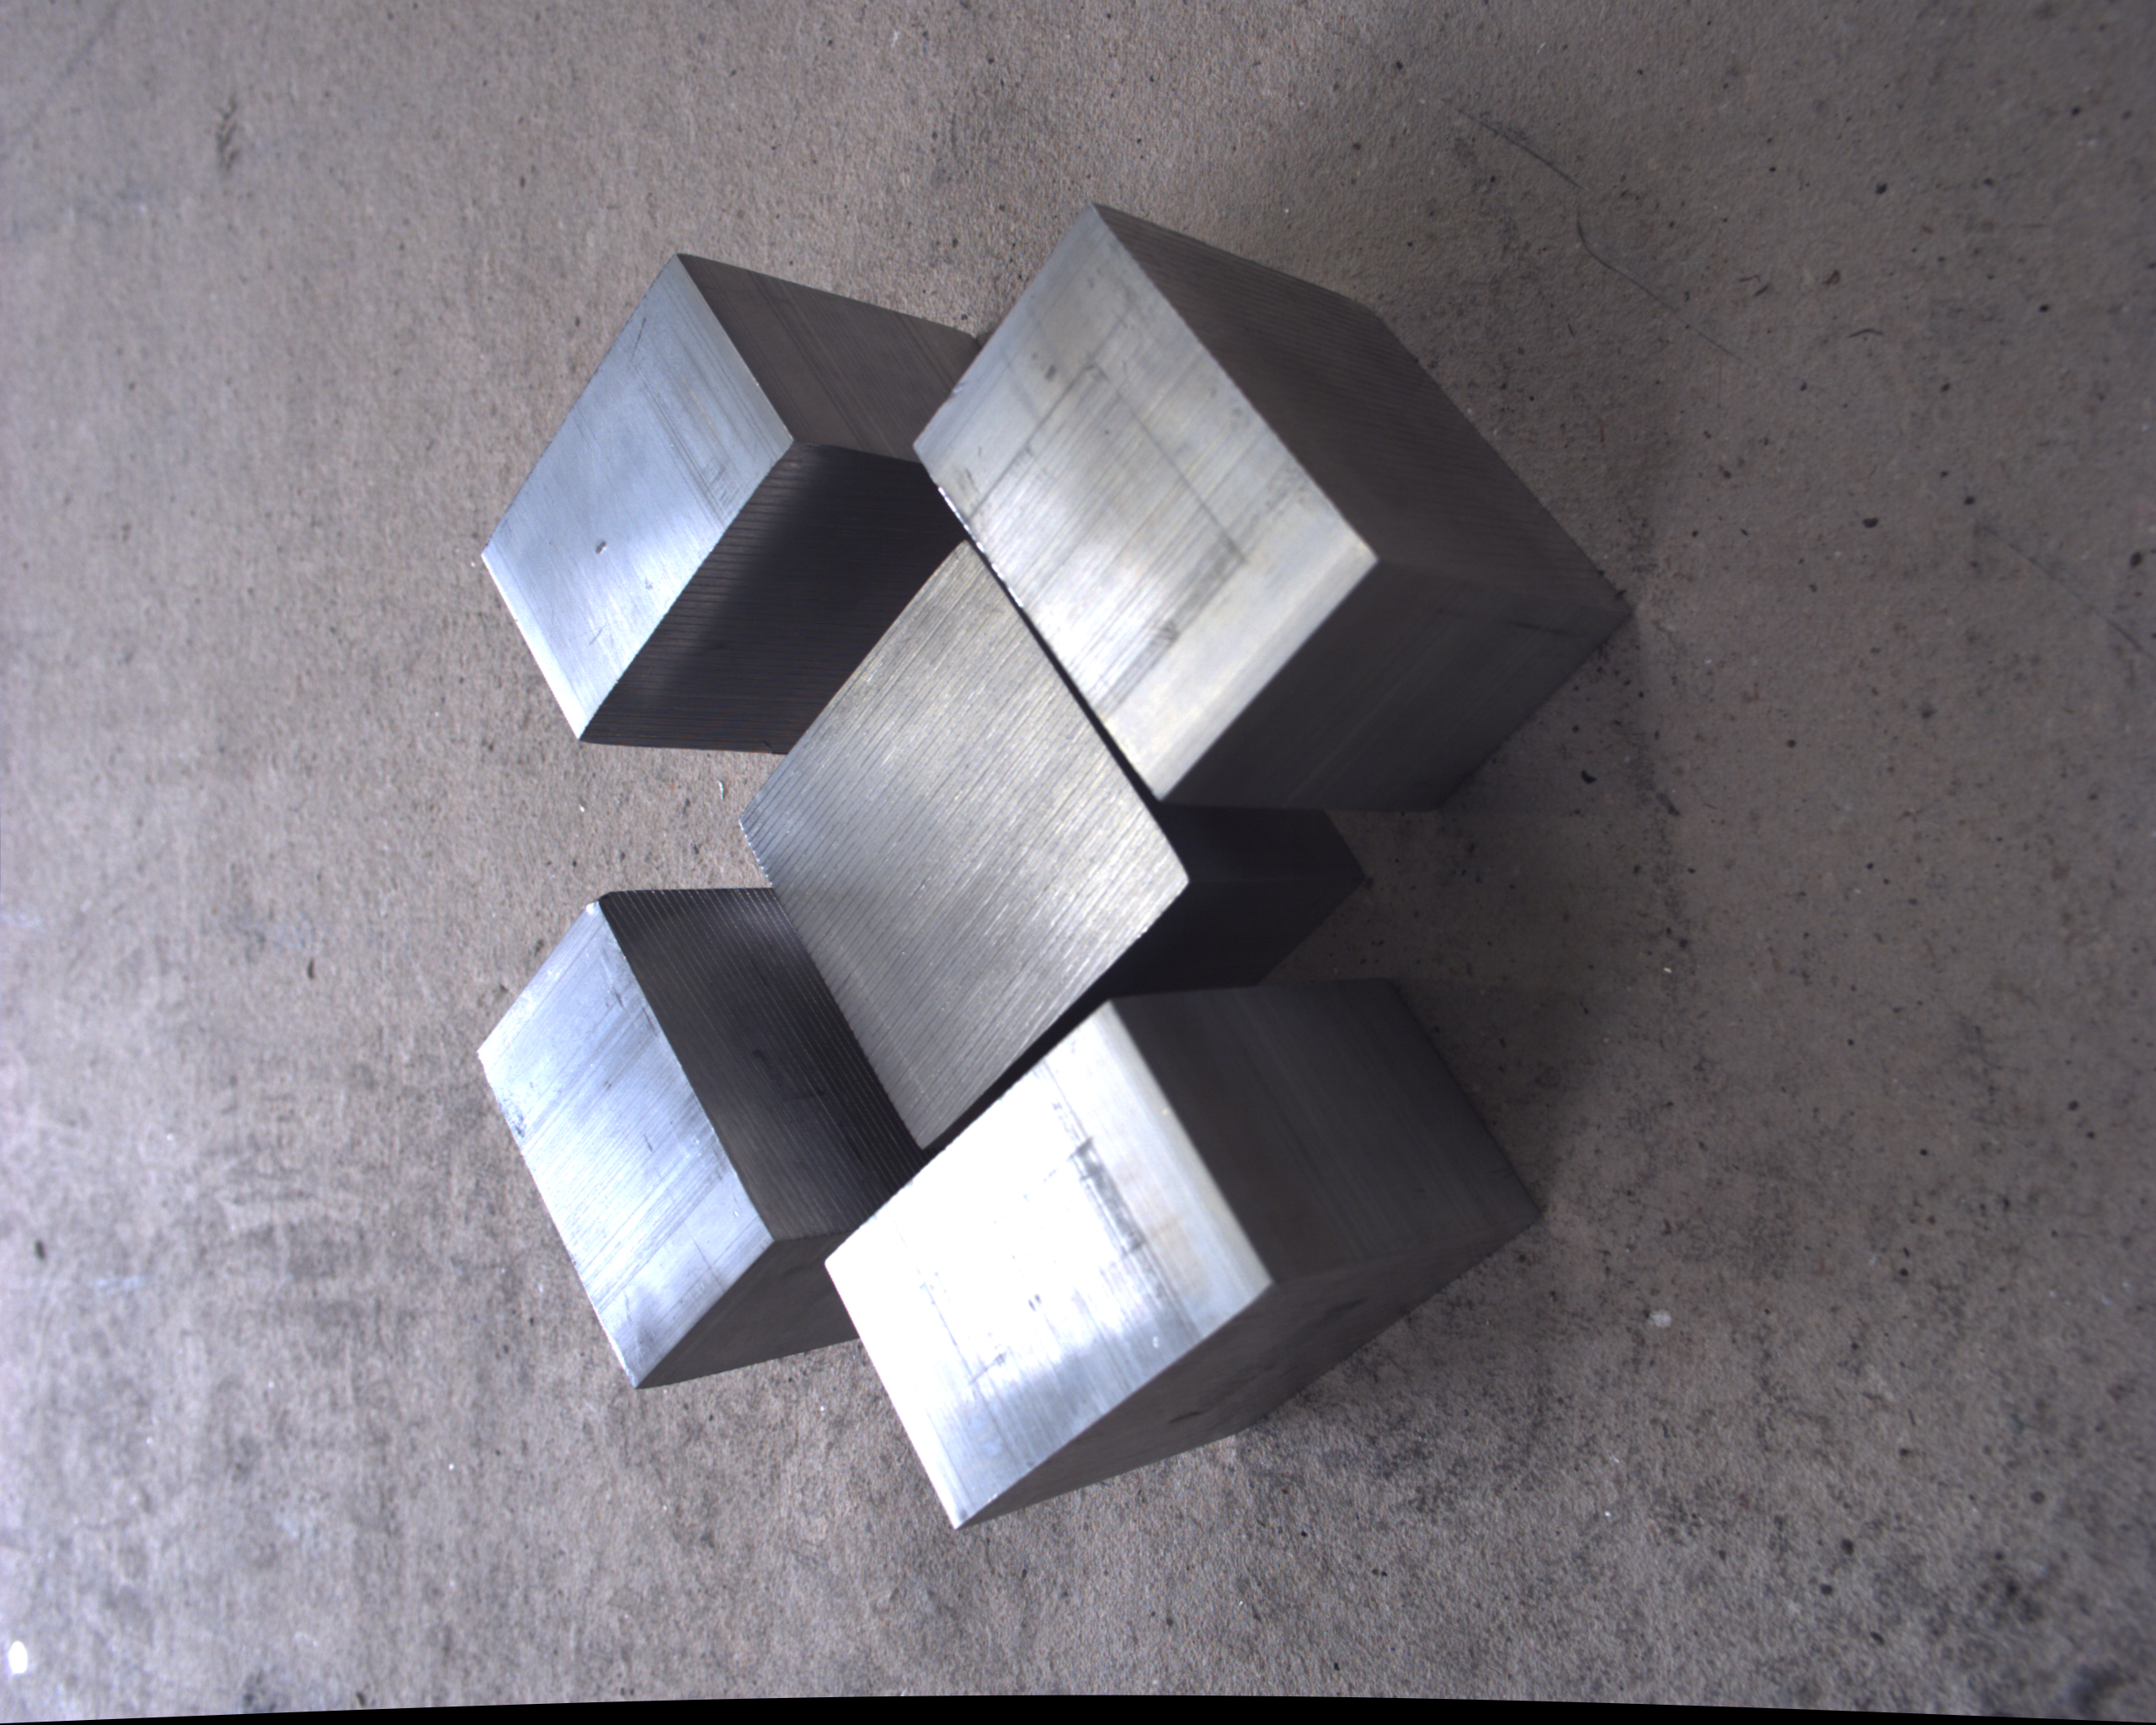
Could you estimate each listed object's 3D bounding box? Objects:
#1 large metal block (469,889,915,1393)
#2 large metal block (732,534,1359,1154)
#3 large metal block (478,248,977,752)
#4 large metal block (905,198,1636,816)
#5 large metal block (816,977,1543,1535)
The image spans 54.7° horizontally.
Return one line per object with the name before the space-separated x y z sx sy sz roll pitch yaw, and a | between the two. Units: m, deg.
large metal block | -0.062 0.052 0.421 0.050 0.081 0.080 -47 62 30
large metal block | -0.009 -0.003 0.394 0.080 0.050 0.080 -47 62 30
large metal block | -0.059 -0.067 0.420 0.080 0.081 0.050 -47 62 30
large metal block | 0.032 -0.055 0.344 0.050 0.081 0.080 -48 62 29
large metal block | 0.017 0.064 0.356 0.080 0.081 0.050 -45 62 30
